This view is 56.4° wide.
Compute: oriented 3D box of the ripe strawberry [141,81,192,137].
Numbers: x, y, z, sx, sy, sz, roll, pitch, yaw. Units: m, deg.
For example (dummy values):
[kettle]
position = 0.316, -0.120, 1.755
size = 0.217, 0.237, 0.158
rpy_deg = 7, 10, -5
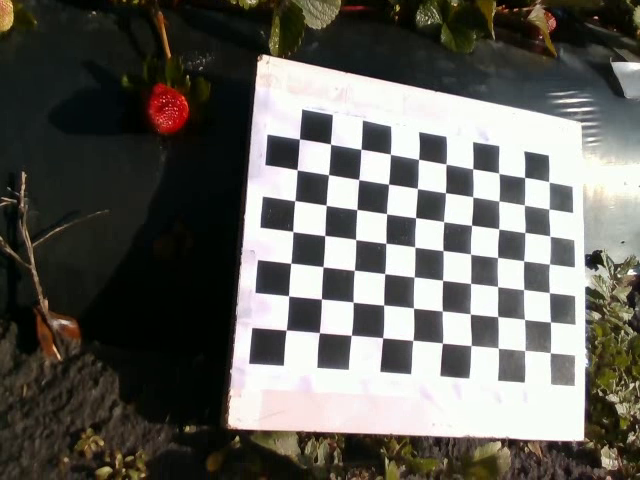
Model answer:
[ripe strawberry]
position = -0.039, -0.033, 0.149
size = 0.015, 0.015, 0.023
rpy_deg = 16, 24, -15
